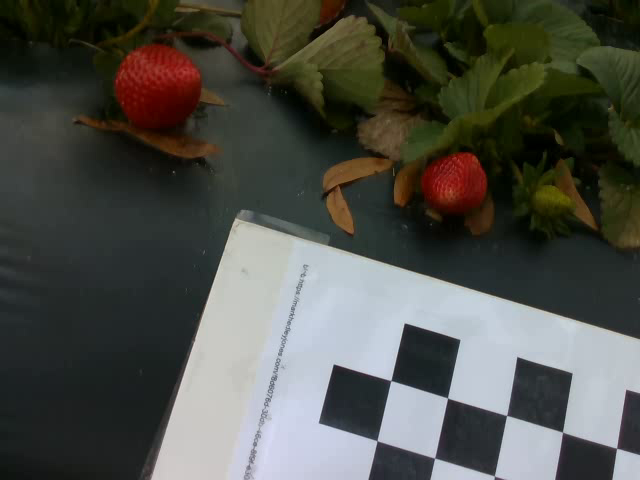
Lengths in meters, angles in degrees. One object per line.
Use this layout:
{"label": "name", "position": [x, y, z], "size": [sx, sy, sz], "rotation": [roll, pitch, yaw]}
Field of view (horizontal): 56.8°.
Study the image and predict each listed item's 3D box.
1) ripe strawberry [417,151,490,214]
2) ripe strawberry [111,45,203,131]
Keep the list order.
{"label": "ripe strawberry", "position": [0.069, -0.026, 0.295], "size": [0.040, 0.037, 0.042], "rotation": [28, 27, 1]}
{"label": "ripe strawberry", "position": [-0.076, -0.077, 0.294], "size": [0.042, 0.047, 0.065], "rotation": [32, -15, -37]}
